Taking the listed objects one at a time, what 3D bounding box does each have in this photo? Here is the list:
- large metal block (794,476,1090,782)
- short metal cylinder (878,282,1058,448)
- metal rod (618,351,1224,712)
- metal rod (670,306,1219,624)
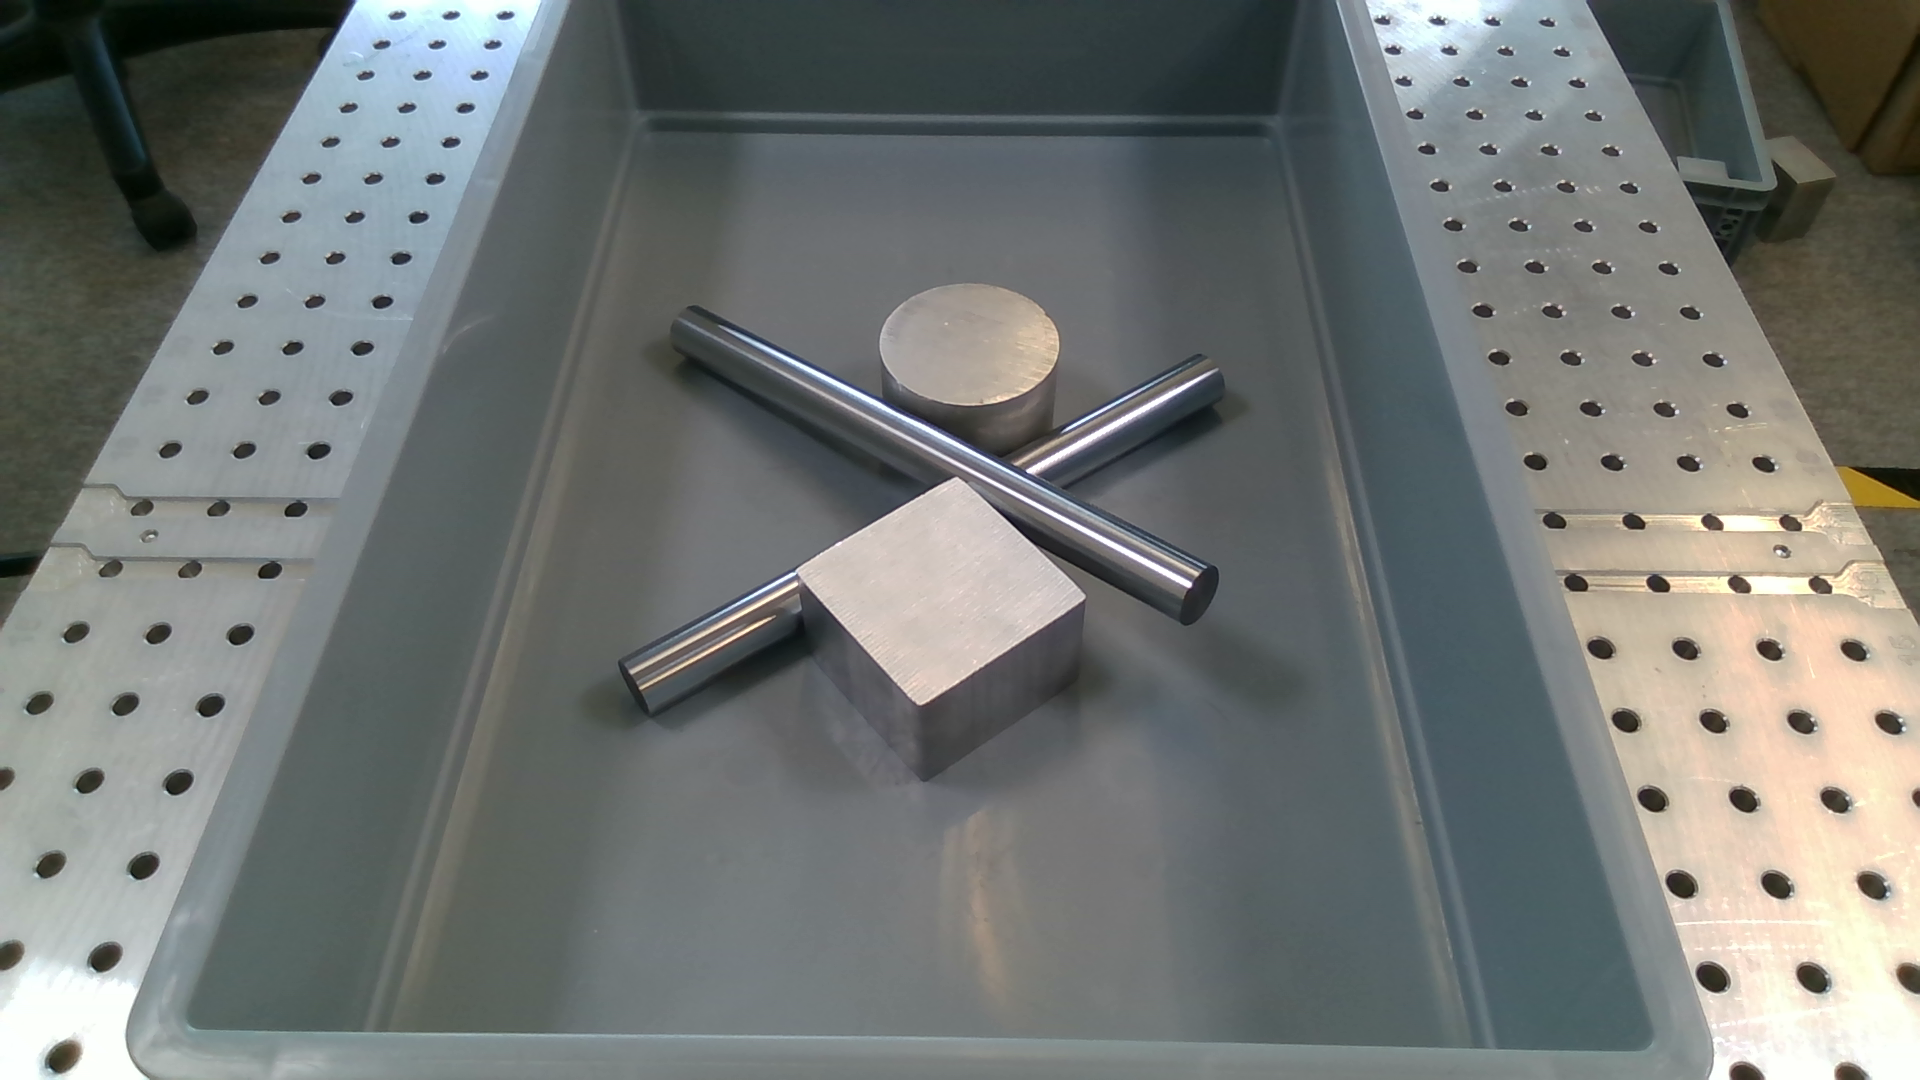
[{"bbox_3d":[-0.007,0.033,0.541,0.080,0.050,0.080,-31,57,-23],"label":"large metal block"},{"bbox_3d":[0.004,-0.073,0.630,0.080,0.050,0.080,0,50,0],"label":"short metal cylinder"},{"bbox_3d":[-0.006,-0.011,0.594,0.300,0.025,0.025,-29,56,-22],"label":"metal rod"},{"bbox_3d":[-0.021,-0.041,0.593,0.299,0.025,0.025,29,56,32],"label":"metal rod"}]
